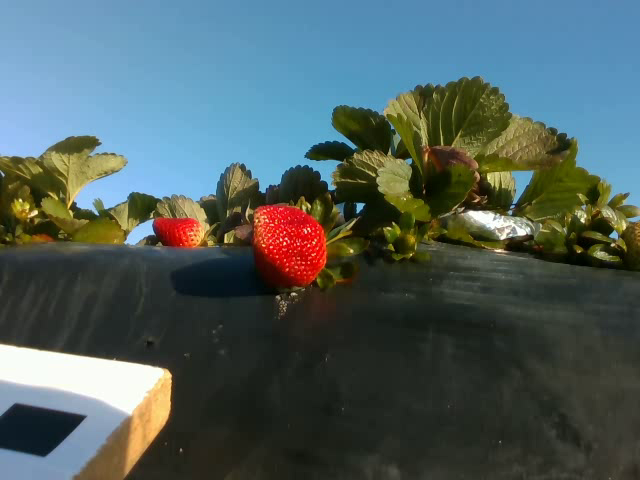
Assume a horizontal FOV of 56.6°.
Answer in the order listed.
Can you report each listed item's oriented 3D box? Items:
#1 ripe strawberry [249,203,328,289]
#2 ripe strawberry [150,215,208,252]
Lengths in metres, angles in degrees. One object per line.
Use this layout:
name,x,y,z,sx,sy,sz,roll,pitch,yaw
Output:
ripe strawberry,-0.020,0.003,0.279,0.042,0.042,0.058,16,3,26
ripe strawberry,-0.102,-0.005,0.423,0.046,0.036,0.035,16,11,4
